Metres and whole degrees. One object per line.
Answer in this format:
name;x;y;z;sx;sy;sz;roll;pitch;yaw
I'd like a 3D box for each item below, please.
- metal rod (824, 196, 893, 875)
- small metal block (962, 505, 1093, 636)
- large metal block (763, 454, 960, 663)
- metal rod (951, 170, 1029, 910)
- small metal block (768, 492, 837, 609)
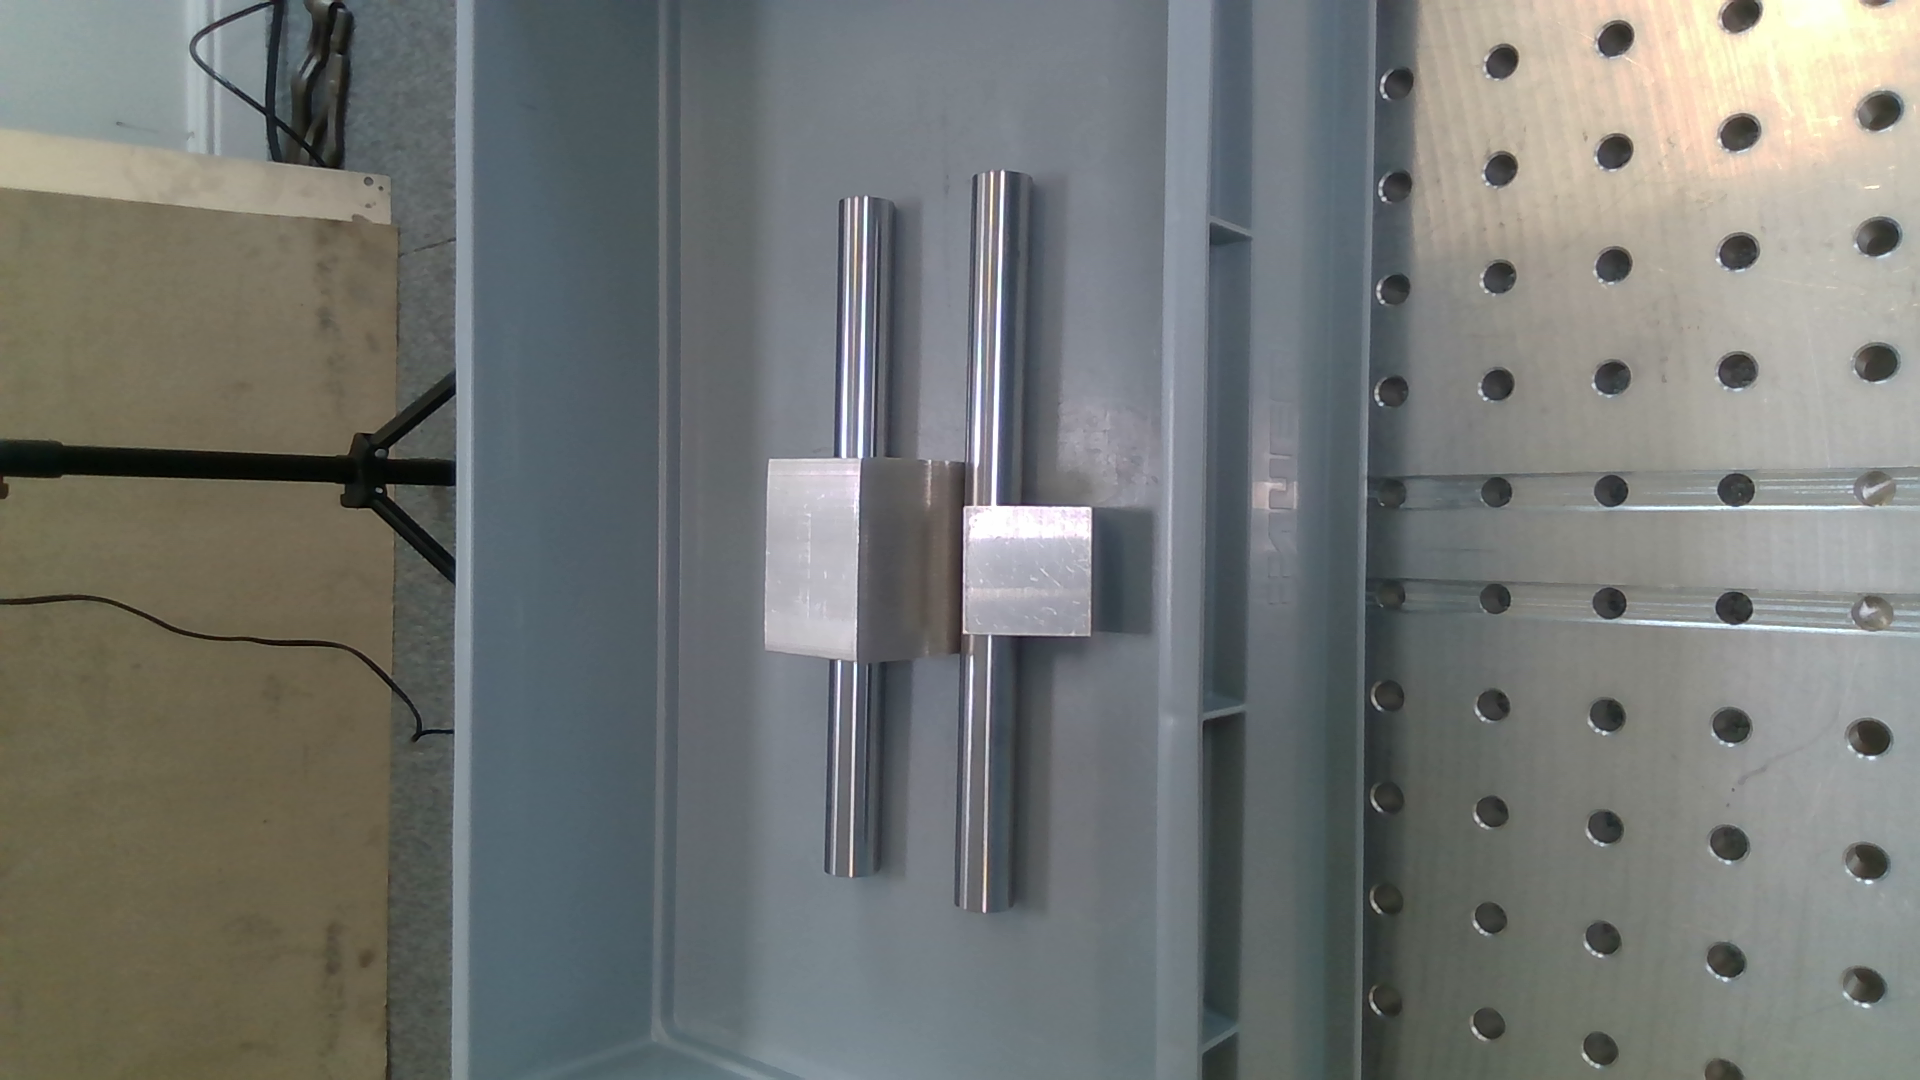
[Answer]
metal rod;-0.046;-0.001;0.620;0.025;0.025;0.300;3;92;40
small metal block;0.027;0.011;0.543;0.050;0.025;0.050;1;91;6
large metal block;-0.034;0.006;0.573;0.050;0.080;0.080;2;92;40
metal rod;0.012;0.001;0.569;0.025;0.025;0.300;3;92;40
small metal block;-0.072;0.004;0.626;0.050;0.025;0.050;-168;79;-77
